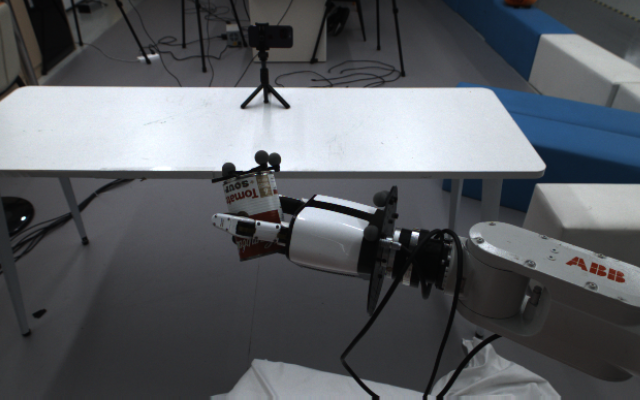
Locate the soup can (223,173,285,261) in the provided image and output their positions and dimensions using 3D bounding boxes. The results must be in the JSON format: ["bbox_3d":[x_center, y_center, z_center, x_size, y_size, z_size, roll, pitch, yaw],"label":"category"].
[{"bbox_3d":[-0.078,0.021,0.615,0.067,0.101,0.067,-14,-2,-1],"label":"soup can"}]
